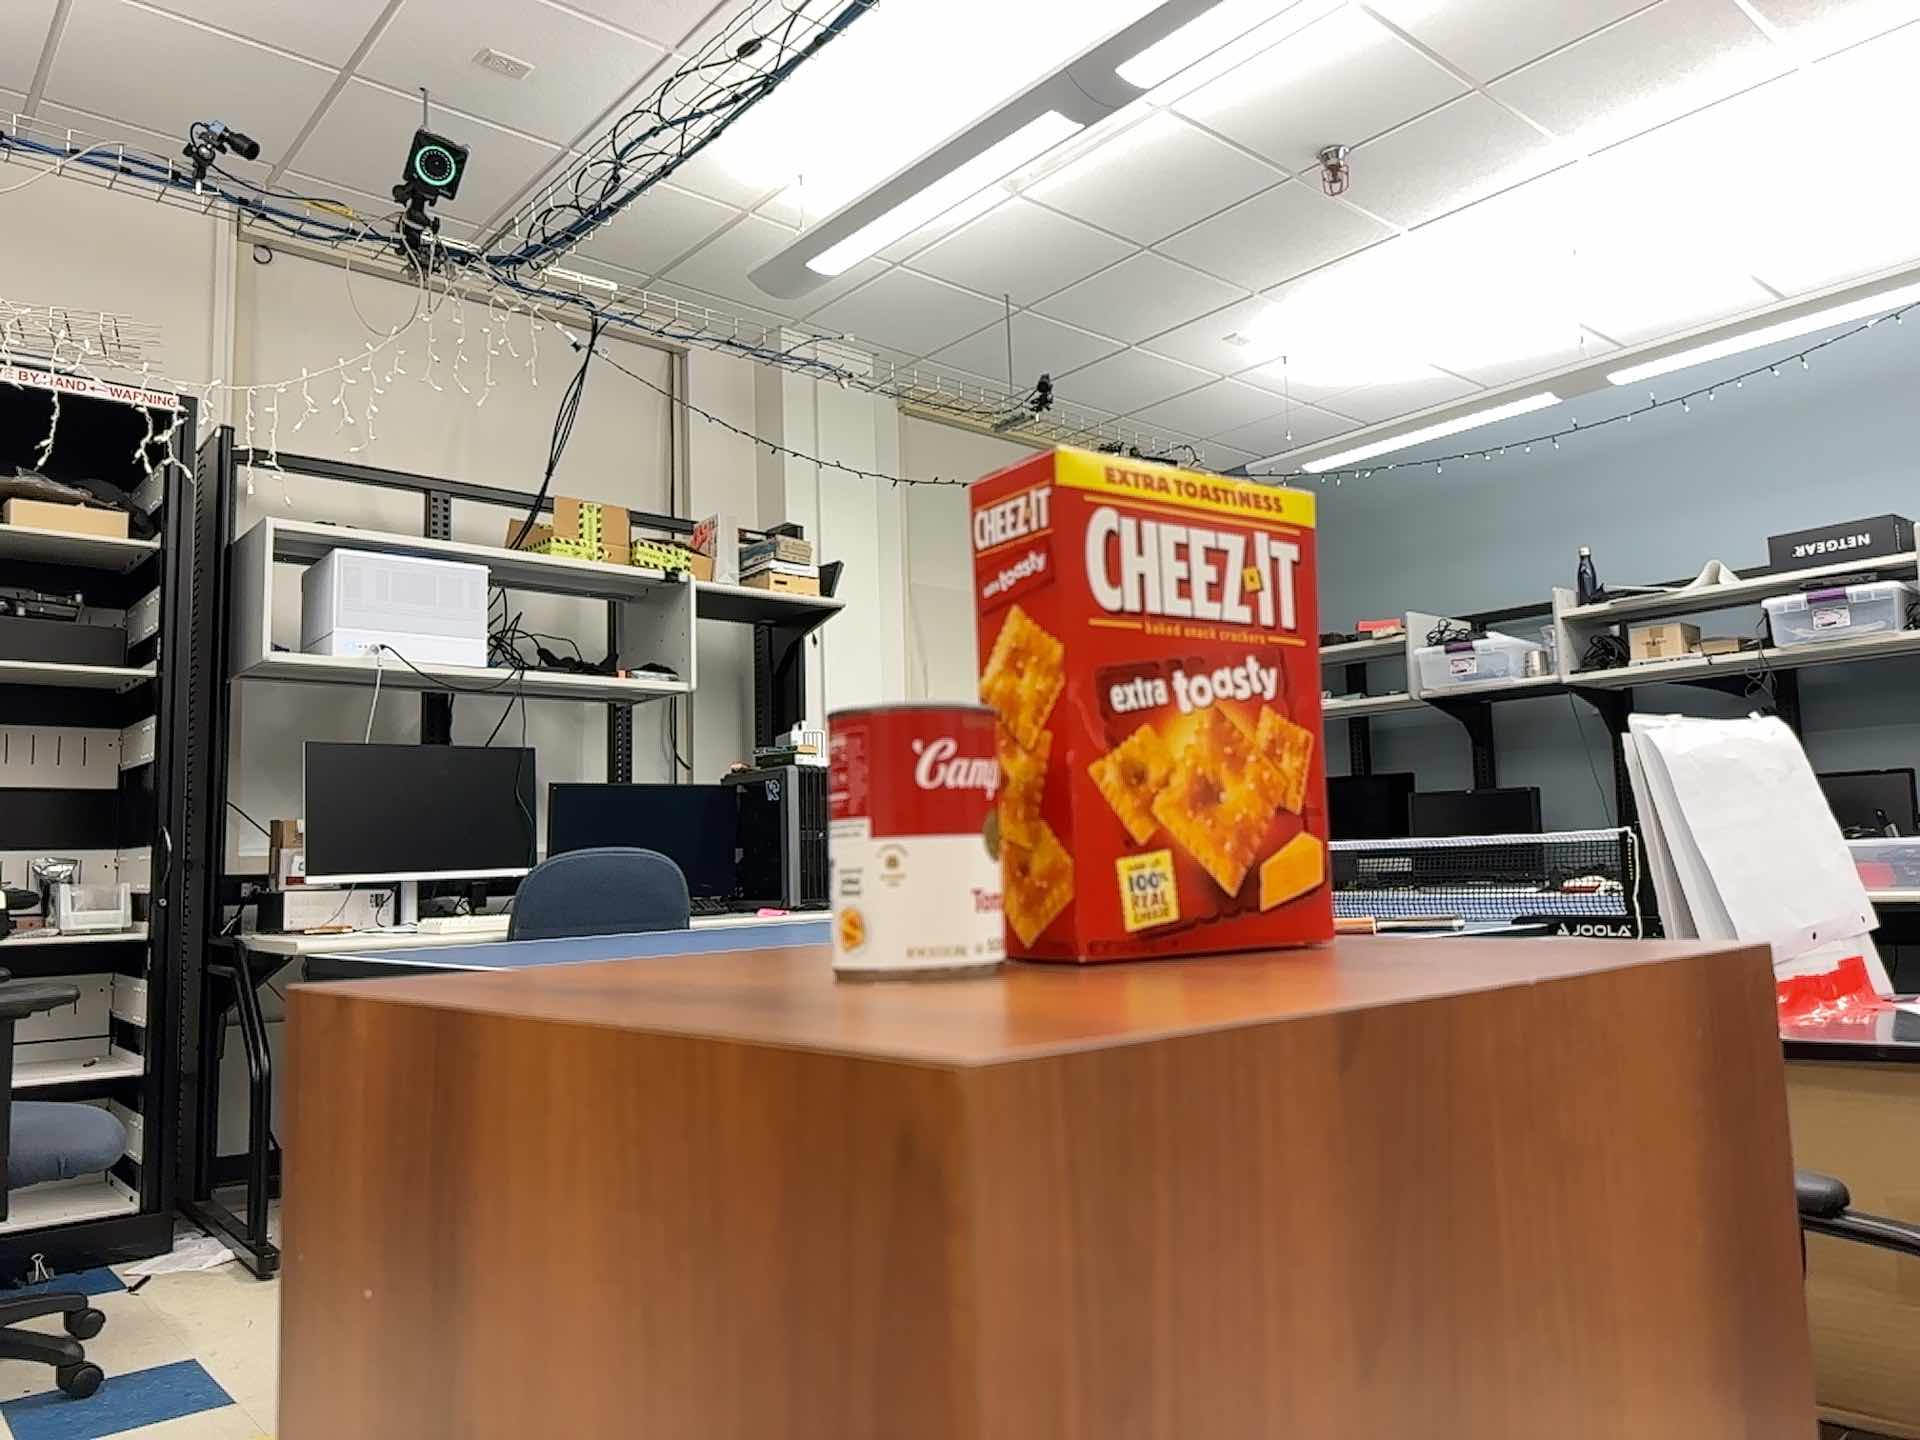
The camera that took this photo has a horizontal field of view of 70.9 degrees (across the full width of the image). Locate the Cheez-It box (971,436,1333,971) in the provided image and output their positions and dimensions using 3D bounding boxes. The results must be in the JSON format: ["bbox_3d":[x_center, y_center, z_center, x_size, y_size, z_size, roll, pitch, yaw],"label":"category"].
[{"bbox_3d":[0.090,-0.002,0.612,0.159,0.214,0.062,5,-9,-37],"label":"Cheez-It box"}]

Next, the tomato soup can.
[{"bbox_3d":[-0.017,0.046,0.510,0.067,0.102,0.067,-1,-8,0],"label":"tomato soup can"}]
